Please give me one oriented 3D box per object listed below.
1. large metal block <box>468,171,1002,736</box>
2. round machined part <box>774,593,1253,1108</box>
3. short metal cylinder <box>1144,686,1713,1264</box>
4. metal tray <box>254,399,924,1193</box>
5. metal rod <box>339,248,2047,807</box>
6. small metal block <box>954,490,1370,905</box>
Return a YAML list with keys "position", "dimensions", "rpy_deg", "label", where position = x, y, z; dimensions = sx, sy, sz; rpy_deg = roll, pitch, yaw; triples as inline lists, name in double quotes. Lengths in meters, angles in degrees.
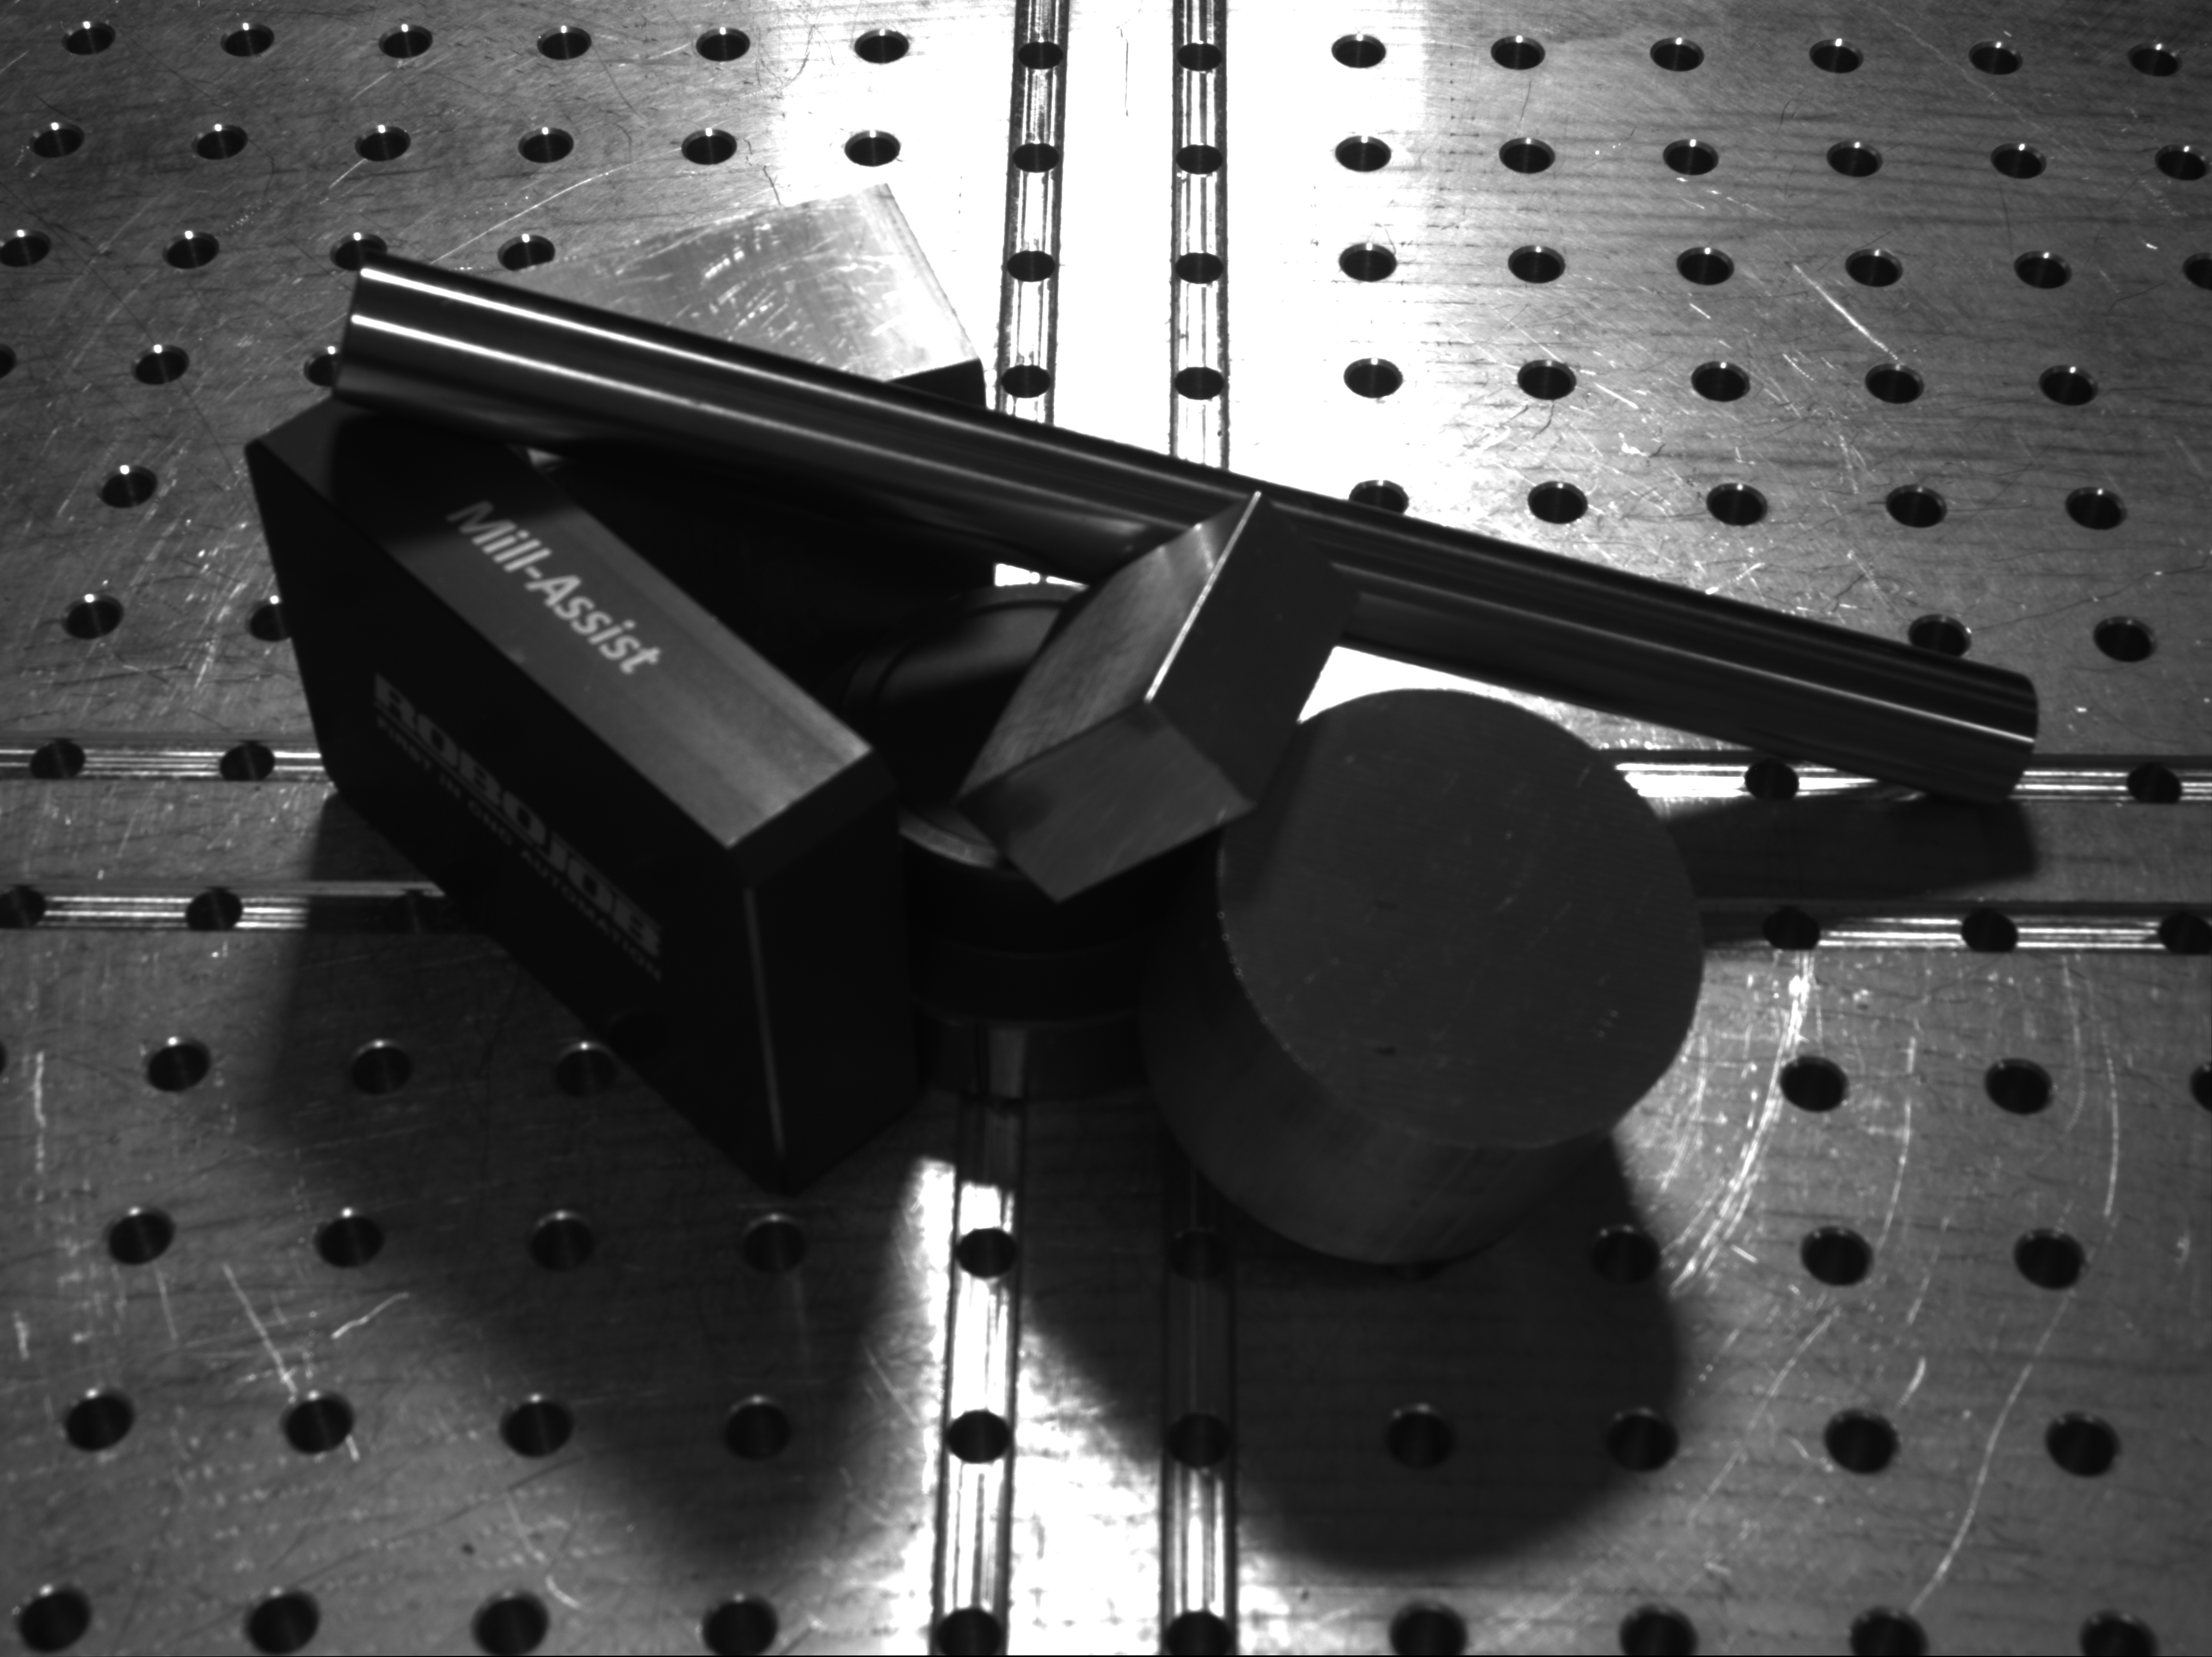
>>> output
- position: [-0.065, -0.063, 0.660]
  dimensions: [0.080, 0.080, 0.050]
  rpy_deg: [-17, 52, -13]
  label: "large metal block"
- position: [-0.011, -0.003, 0.640]
  dimensions: [0.098, 0.042, 0.098]
  rpy_deg: [0, 50, 0]
  label: "round machined part"
- position: [0.051, 0.024, 0.593]
  dimensions: [0.080, 0.050, 0.080]
  rpy_deg: [7, 62, -13]
  label: "short metal cylinder"
- position: [-0.085, -0.009, 0.609]
  dimensions: [0.030, 0.090, 0.130]
  rpy_deg: [-36, 58, -26]
  label: "metal tray"
- position: [0.022, -0.048, 0.624]
  dimensions: [0.300, 0.025, 0.025]
  rpy_deg: [13, 48, -15]
  label: "metal rod"
- position: [0.009, -0.021, 0.589]
  dimensions: [0.025, 0.050, 0.050]
  rpy_deg: [44, 49, -19]
  label: "small metal block"
